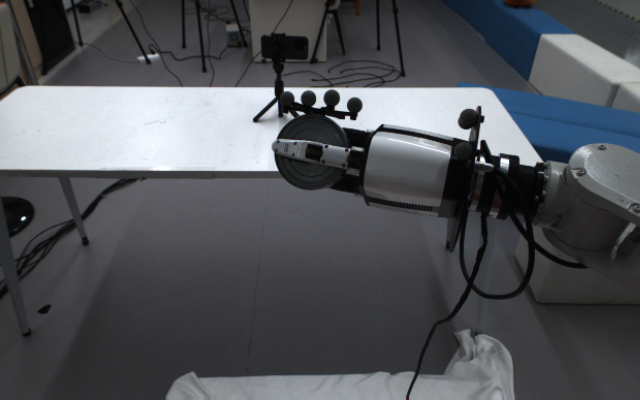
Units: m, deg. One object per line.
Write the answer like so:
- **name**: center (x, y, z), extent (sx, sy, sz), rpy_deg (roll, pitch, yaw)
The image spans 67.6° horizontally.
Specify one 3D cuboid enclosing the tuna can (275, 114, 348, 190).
- **tuna can**: center (-0.006, -0.056, 0.556), extent (0.085, 0.085, 0.034), rpy_deg (11, 2, 13)
